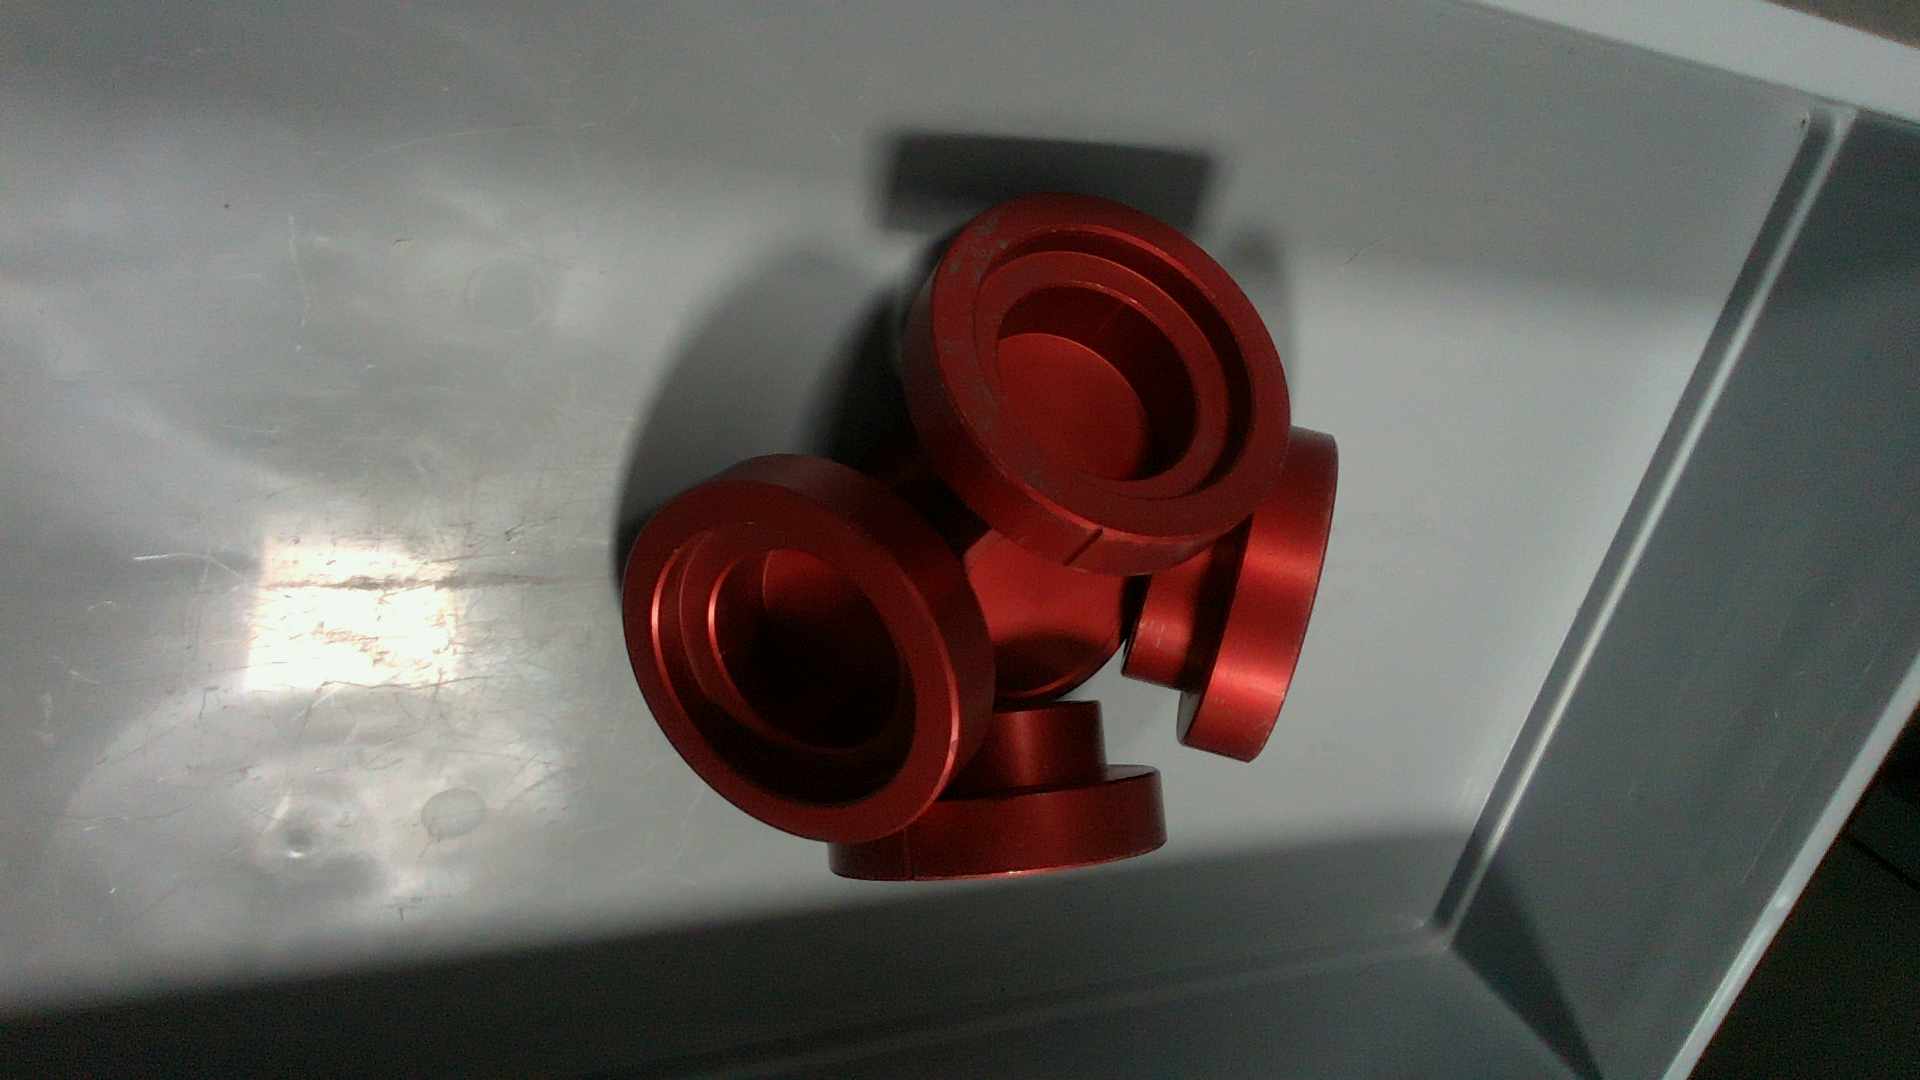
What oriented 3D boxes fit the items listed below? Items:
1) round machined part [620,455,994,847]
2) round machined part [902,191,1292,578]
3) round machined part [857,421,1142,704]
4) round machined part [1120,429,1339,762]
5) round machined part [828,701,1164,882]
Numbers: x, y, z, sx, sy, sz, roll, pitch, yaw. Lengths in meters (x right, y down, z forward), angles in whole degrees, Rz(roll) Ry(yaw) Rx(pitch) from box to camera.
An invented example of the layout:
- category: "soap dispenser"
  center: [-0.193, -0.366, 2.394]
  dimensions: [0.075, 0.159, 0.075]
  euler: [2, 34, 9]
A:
- category: "round machined part"
  center: [-0.035, 0.025, 0.349]
  dimensions: [0.042, 0.098, 0.098]
  euler: [-39, 143, -54]
- category: "round machined part"
  center: [0.031, -0.035, 0.347]
  dimensions: [0.098, 0.098, 0.042]
  euler: [-4, 158, -26]
- category: "round machined part"
  center: [0.013, 0.009, 0.389]
  dimensions: [0.098, 0.042, 0.098]
  euler: [-14, 124, -21]
- category: "round machined part"
  center: [0.075, 0.012, 0.402]
  dimensions: [0.042, 0.098, 0.098]
  euler: [14, 116, 5]
- category: "round machined part"
  center: [0.009, 0.070, 0.400]
  dimensions: [0.098, 0.098, 0.042]
  euler: [-1, 83, -28]
